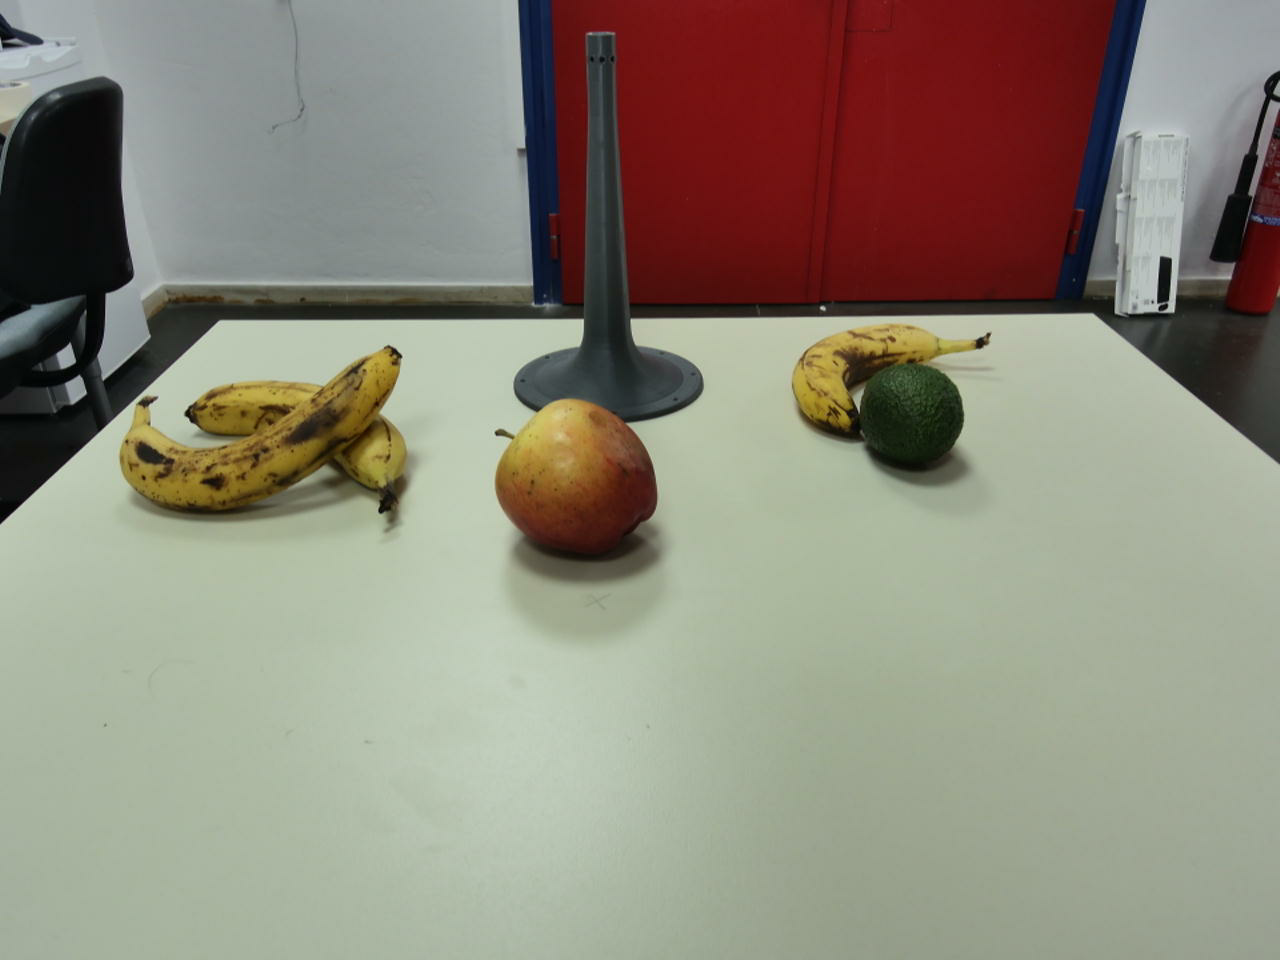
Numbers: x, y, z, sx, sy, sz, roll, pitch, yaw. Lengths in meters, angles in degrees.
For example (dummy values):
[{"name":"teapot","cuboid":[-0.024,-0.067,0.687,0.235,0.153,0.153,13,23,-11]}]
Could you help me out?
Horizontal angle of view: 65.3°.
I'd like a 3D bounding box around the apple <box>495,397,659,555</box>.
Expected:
[{"name":"apple","cuboid":[-0.037,-0.001,0.574,0.086,0.084,0.093,-18,31,-32]}]
